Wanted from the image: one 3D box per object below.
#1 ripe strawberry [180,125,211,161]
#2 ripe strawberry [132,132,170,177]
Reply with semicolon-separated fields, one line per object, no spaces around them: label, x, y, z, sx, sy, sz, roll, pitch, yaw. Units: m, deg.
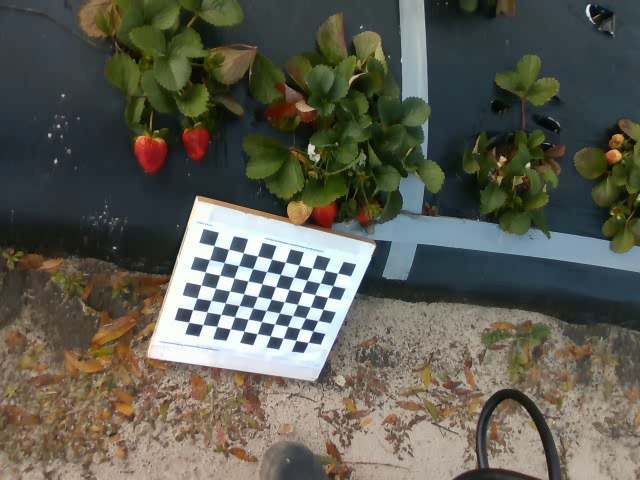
ripe strawberry;-0.180;-0.140;0.889;0.042;0.053;0.034;-1;-7;-11
ripe strawberry;-0.242;-0.119;0.875;0.050;0.061;0.045;4;-12;-13
